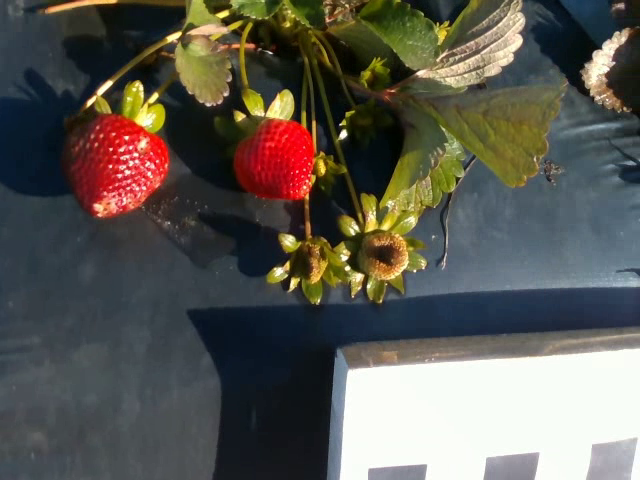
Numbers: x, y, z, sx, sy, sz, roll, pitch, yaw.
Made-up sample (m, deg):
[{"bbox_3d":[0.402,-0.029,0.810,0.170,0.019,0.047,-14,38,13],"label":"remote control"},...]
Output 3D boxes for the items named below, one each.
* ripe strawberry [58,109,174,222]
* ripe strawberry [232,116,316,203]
[{"bbox_3d":[-0.088,-0.028,0.226,0.050,0.045,0.050,17,40,-16],"label":"ripe strawberry"},{"bbox_3d":[-0.017,-0.032,0.241,0.042,0.049,0.039,-40,-42,9],"label":"ripe strawberry"}]
